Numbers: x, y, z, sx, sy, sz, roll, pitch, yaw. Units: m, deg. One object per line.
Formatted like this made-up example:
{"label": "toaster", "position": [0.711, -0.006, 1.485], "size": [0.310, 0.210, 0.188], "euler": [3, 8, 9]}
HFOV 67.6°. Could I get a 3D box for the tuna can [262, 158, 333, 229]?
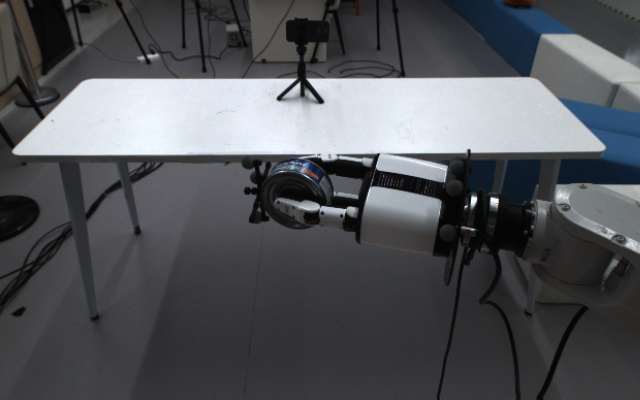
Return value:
{"label": "tuna can", "position": [-0.025, -0.004, 0.591], "size": [0.085, 0.085, 0.034], "euler": [9, 33, 10]}
